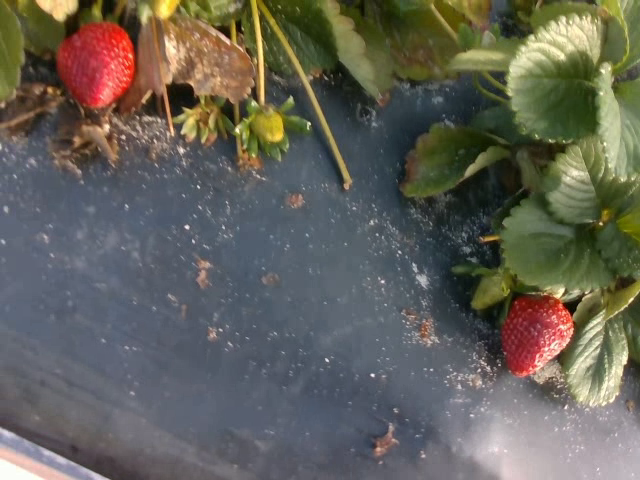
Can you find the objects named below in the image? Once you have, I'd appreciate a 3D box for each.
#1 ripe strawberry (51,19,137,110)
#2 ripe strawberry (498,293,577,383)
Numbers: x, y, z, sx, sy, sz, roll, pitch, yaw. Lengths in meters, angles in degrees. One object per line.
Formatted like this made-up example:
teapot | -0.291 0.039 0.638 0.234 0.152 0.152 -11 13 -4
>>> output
ripe strawberry | -0.075 -0.055 0.201 0.031 0.030 0.026 -9 -27 -10
ripe strawberry | 0.075 0.036 0.215 0.029 0.036 0.021 28 -19 2
